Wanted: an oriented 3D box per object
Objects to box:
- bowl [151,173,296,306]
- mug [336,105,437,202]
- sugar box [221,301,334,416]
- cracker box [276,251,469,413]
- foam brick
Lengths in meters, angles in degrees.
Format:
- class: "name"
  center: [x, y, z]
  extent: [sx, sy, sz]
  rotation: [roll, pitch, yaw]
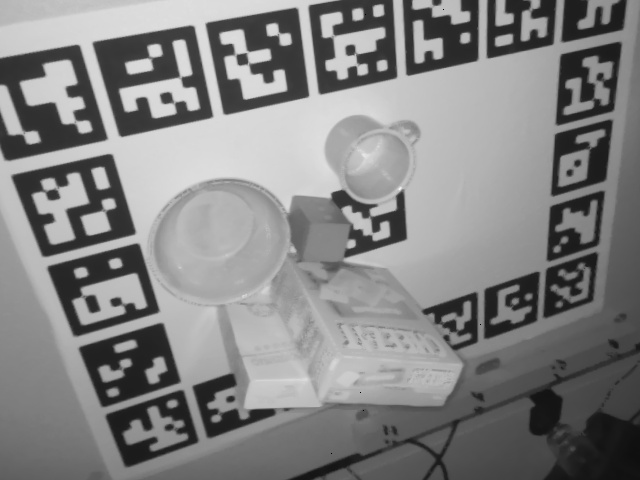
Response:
- class: "bowl"
  center: [-0.110, -0.008, 0.781]
  extent: [0.163, 0.055, 0.160]
  rotation: [-9, 117, -17]
- class: "mug"
  center: [0.080, -0.108, 0.796]
  extent: [0.118, 0.081, 0.093]
  rotation: [-23, 129, -11]
- class: "sugar box"
  center: [-0.053, 0.133, 0.814]
  extent: [0.094, 0.176, 0.045]
  rotation: [6, 114, -23]
- class: "cracker box"
  center: [0.056, 0.103, 0.820]
  extent: [0.166, 0.213, 0.071]
  rotation: [14, 112, -25]
- class: "foam brick"
  center: [0.009, -0.012, 0.829]
  extent: [0.053, 0.078, 0.051]
  rotation: [0, 117, -21]
